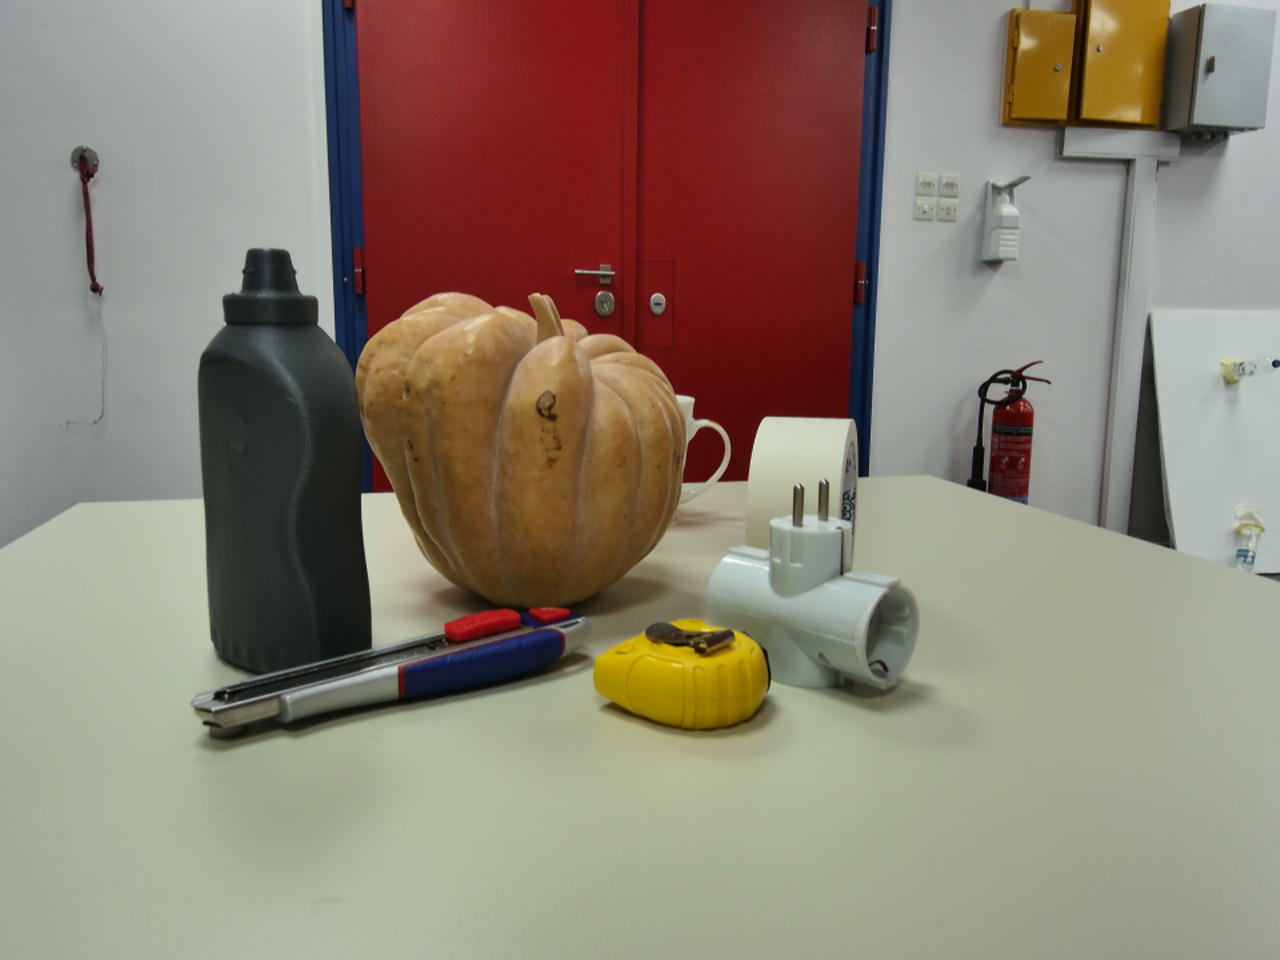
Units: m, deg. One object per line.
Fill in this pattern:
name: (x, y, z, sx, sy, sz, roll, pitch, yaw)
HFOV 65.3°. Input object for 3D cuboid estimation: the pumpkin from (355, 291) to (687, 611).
pumpkin: (-0.066, -0.019, 0.576, 0.199, 0.177, 0.198, 0, 8, 0)
